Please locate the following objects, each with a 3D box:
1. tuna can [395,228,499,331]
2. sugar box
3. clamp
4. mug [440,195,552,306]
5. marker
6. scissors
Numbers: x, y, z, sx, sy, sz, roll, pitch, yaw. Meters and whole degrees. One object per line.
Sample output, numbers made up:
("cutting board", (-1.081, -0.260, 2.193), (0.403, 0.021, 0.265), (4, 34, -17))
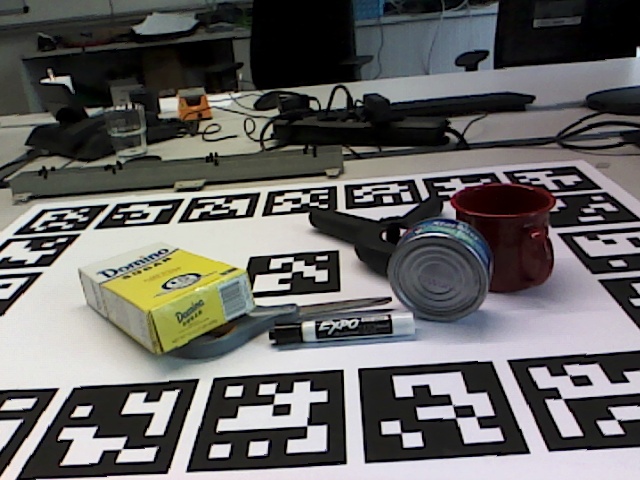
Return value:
("tuna can", (0.109, 0.035, 0.533), (0.086, 0.085, 0.033), (3, 26, 18))
("sugar box", (-0.144, 0.054, 0.577), (0.092, 0.045, 0.178), (-21, 23, -31))
("clamp", (0.080, 0.008, 0.680), (0.165, 0.036, 0.203), (-8, 26, -7))
("mug", (0.168, 0.013, 0.581), (0.093, 0.081, 0.118), (-16, 23, -23))
("marker", (0.010, 0.087, 0.520), (0.121, 0.019, 0.020), (-6, 26, -1))
("scissors", (-0.036, 0.070, 0.558), (0.202, 0.016, 0.088), (-7, 21, -8))
